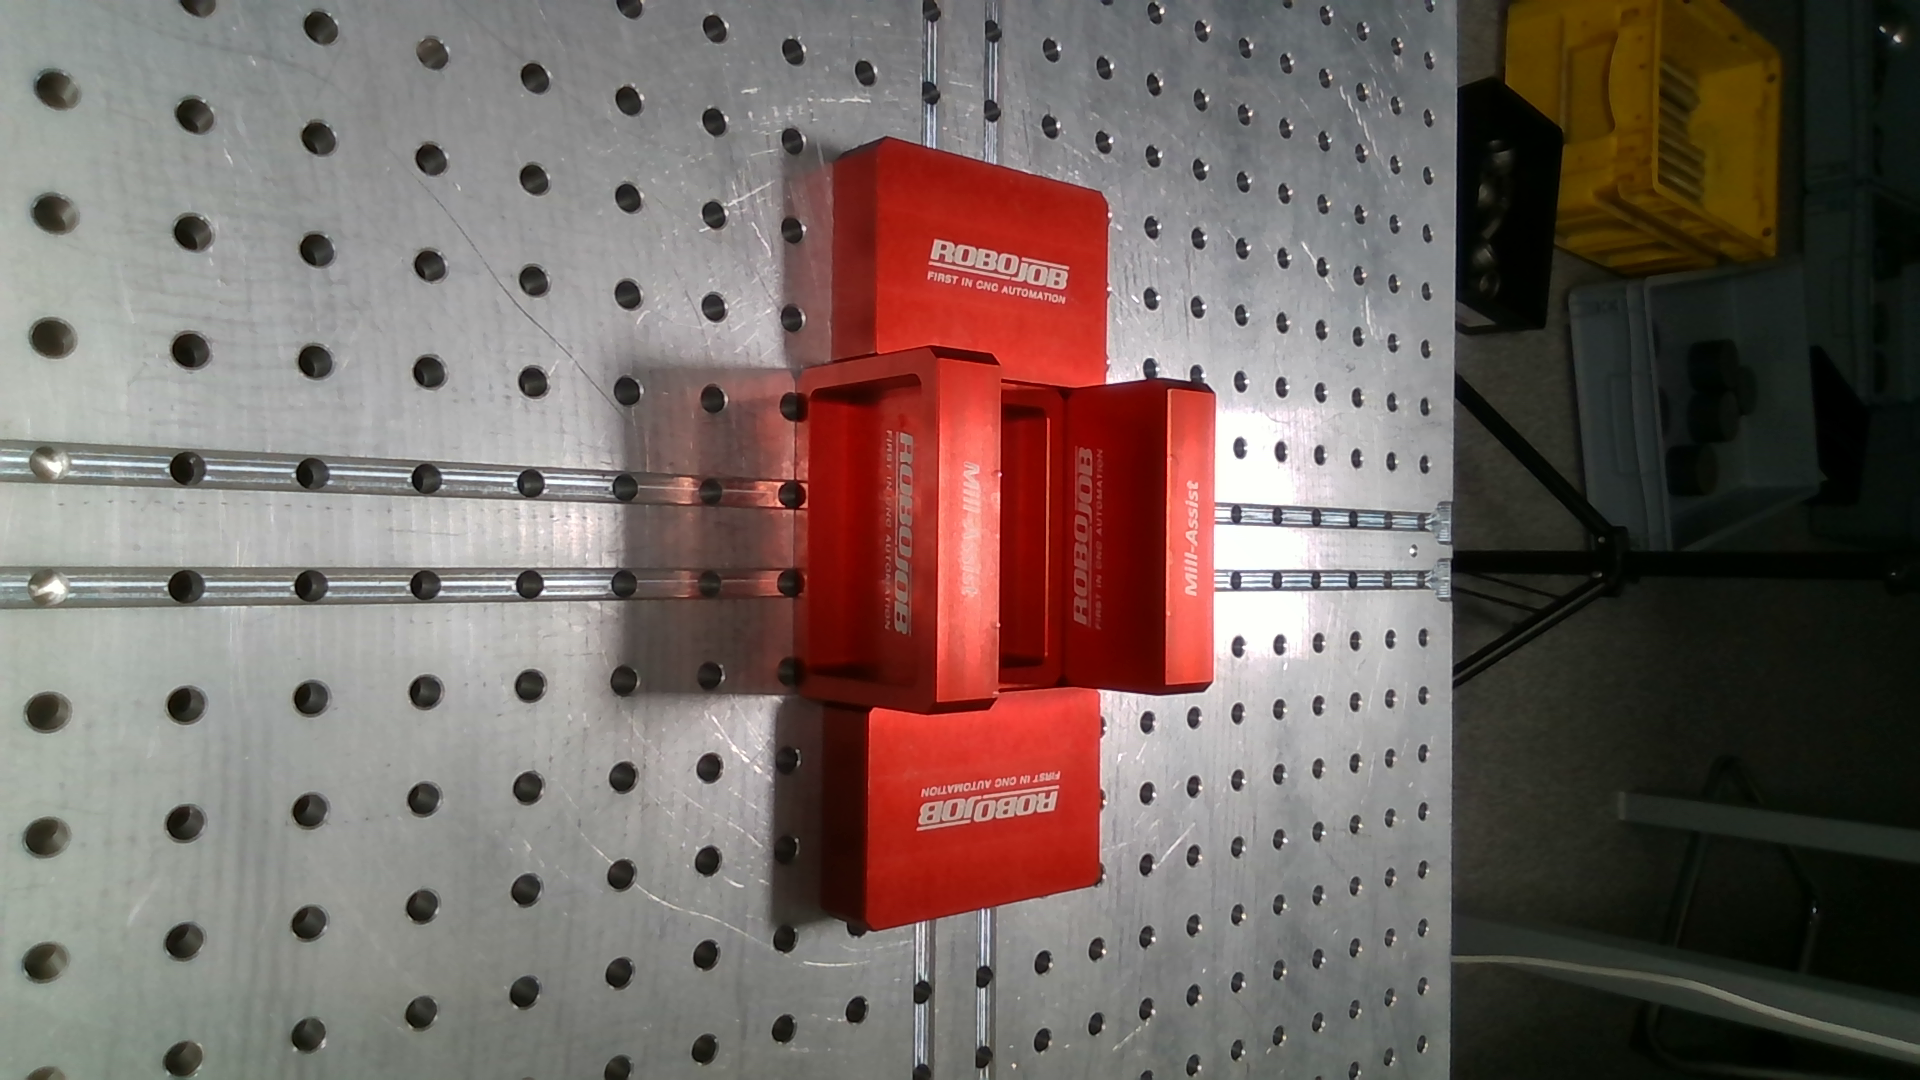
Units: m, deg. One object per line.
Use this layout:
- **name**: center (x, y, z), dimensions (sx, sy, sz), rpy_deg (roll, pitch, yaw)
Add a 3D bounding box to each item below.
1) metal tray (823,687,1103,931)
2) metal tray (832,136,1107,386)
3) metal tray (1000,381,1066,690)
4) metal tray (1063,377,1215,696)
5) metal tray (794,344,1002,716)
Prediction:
- **metal tray**: center (0.004, 0.108, 0.584), dimensions (0.130, 0.030, 0.090), rpy_deg (1, 90, -40)
- **metal tray**: center (0.007, -0.112, 0.588), dimensions (0.130, 0.030, 0.090), rpy_deg (1, 89, -40)
- **metal tray**: center (0.002, -0.002, 0.582), dimensions (0.090, 0.030, 0.130), rpy_deg (1, 90, -40)
- **metal tray**: center (0.066, -0.001, 0.600), dimensions (0.030, 0.090, 0.130), rpy_deg (1, 90, -40)
- **metal tray**: center (-0.025, -0.003, 0.520), dimensions (0.030, 0.090, 0.130), rpy_deg (1, 90, -40)
